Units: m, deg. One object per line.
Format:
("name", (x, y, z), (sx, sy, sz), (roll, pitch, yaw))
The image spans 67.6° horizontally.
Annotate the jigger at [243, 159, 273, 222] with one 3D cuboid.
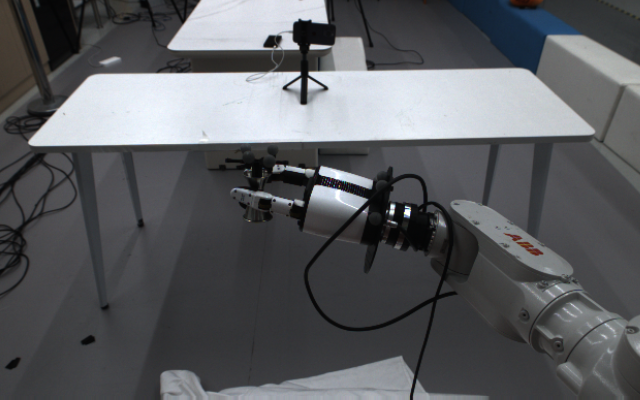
("jigger", (-0.091, -0.008, 0.706), (0.043, 0.071, 0.043), (2, 20, -1))
